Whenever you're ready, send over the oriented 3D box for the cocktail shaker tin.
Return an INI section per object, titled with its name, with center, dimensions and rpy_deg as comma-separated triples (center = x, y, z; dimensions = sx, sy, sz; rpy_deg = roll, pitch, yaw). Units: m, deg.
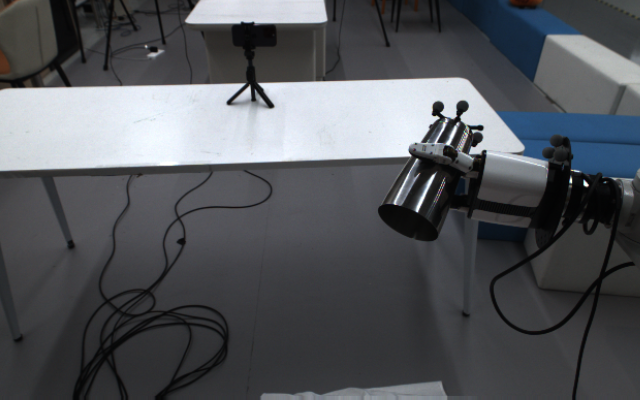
[cocktail shaker tin]
center = 0.164, -0.039, 0.705
dimensions = 0.093, 0.093, 0.170
rpy_deg = 20, 67, 23
